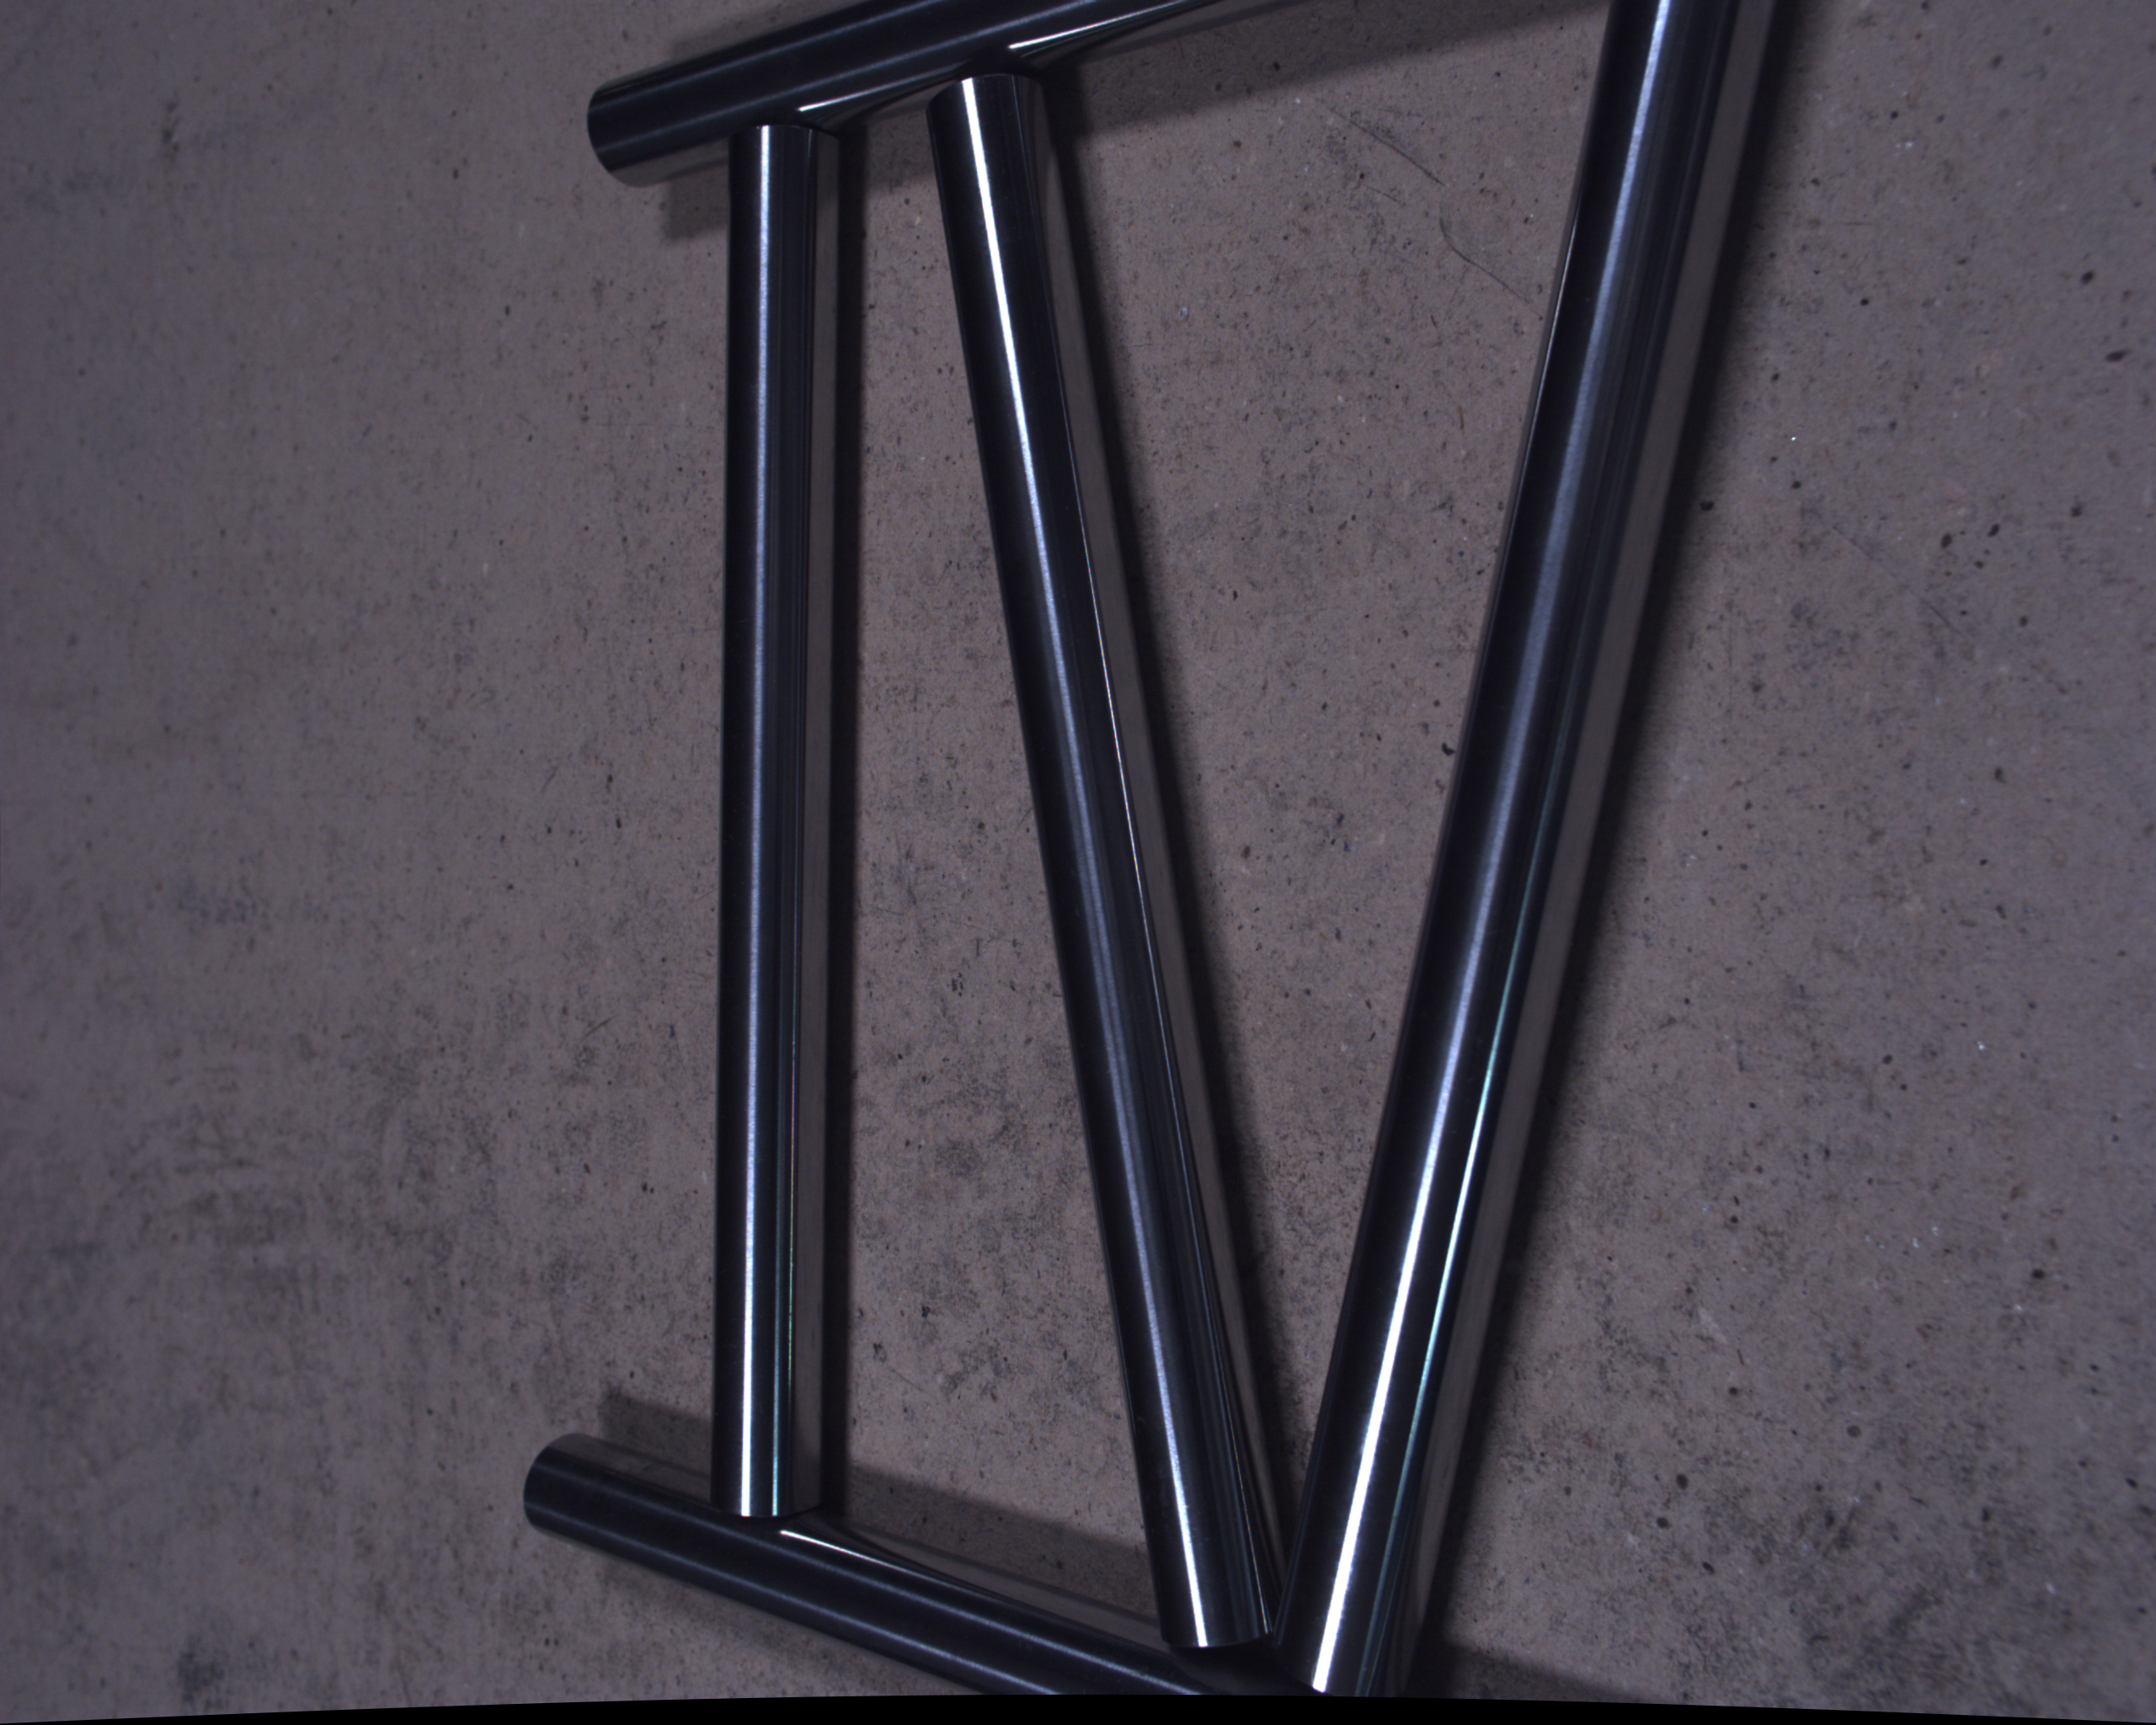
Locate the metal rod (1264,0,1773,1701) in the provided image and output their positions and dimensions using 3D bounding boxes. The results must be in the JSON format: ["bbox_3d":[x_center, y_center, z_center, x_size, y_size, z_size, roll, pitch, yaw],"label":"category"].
[{"bbox_3d":[0.072,-0.005,0.345,0.025,0.025,0.298,17,101,38],"label":"metal rod"}]

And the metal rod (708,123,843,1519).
[{"bbox_3d":[-0.066,-0.009,0.458,0.025,0.025,0.298,1,91,39],"label":"metal rod"}]

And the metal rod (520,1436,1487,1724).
[{"bbox_3d":[-0.009,0.155,0.410,0.300,0.025,0.025,2,91,39],"label":"metal rod"}]

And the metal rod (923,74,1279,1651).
[{"bbox_3d":[0.004,-0.006,0.400,0.025,0.025,0.298,-15,81,39],"label":"metal rod"}]

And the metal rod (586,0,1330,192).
[{"bbox_3d":[0.011,-0.167,0.396,0.300,0.025,0.025,2,91,39],"label":"metal rod"}]
